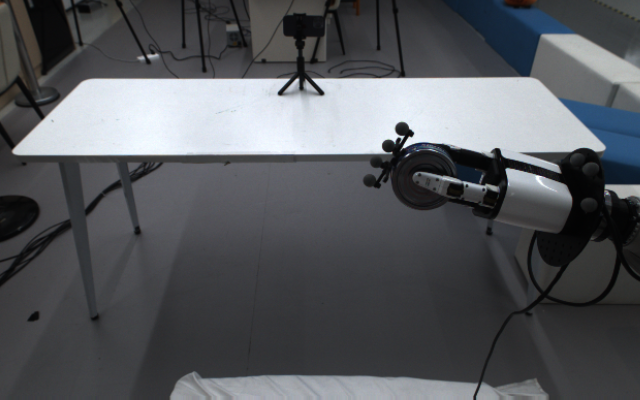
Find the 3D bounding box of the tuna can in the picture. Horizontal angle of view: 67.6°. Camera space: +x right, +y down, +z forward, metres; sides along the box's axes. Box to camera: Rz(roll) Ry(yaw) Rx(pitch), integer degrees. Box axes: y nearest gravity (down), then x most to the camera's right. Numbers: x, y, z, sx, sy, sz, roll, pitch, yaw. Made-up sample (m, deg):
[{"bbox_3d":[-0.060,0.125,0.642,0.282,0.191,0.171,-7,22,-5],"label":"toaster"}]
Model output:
[{"bbox_3d":[0.139,-0.033,0.639,0.085,0.085,0.034,3,20,1],"label":"tuna can"}]
